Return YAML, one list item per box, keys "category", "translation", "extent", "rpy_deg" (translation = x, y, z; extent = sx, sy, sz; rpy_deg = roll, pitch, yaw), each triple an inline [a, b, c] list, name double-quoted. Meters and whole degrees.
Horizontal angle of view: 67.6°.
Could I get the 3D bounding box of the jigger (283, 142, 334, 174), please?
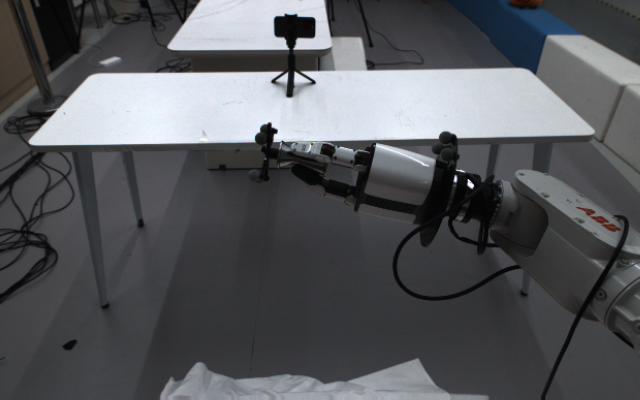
- category: "jigger"
  translation: [-0.017, -0.061, 0.678]
  extent: [0.071, 0.043, 0.043]
  rpy_deg: [9, 35, 1]
